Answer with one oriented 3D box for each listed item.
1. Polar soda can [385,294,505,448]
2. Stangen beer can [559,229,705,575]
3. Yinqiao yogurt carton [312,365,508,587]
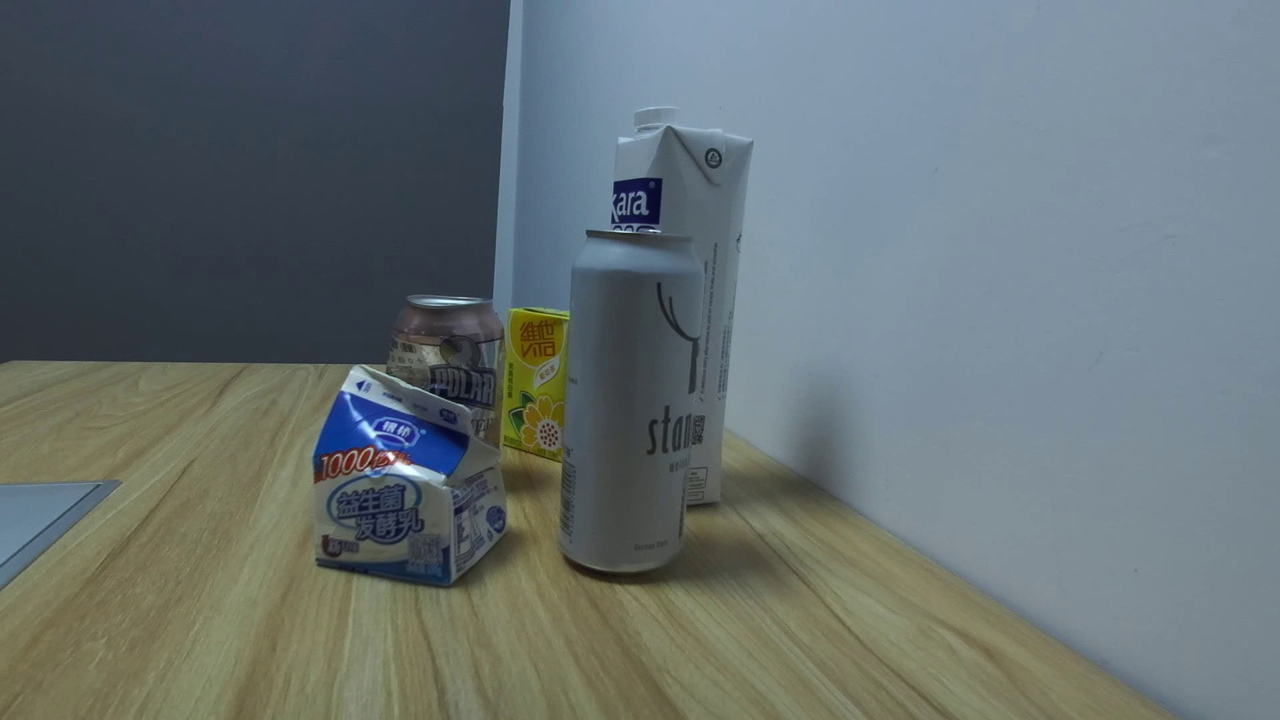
[{"bbox_3d":[-0.124,0.022,0.465,0.067,0.121,0.074,-5,10,-41],"label":"Polar soda can"},{"bbox_3d":[-0.004,0.021,0.363,0.067,0.171,0.067,4,9,0],"label":"Stangen beer can"},{"bbox_3d":[-0.116,0.052,0.360,0.083,0.093,0.077,6,9,10],"label":"Yinqiao yogurt carton"}]
